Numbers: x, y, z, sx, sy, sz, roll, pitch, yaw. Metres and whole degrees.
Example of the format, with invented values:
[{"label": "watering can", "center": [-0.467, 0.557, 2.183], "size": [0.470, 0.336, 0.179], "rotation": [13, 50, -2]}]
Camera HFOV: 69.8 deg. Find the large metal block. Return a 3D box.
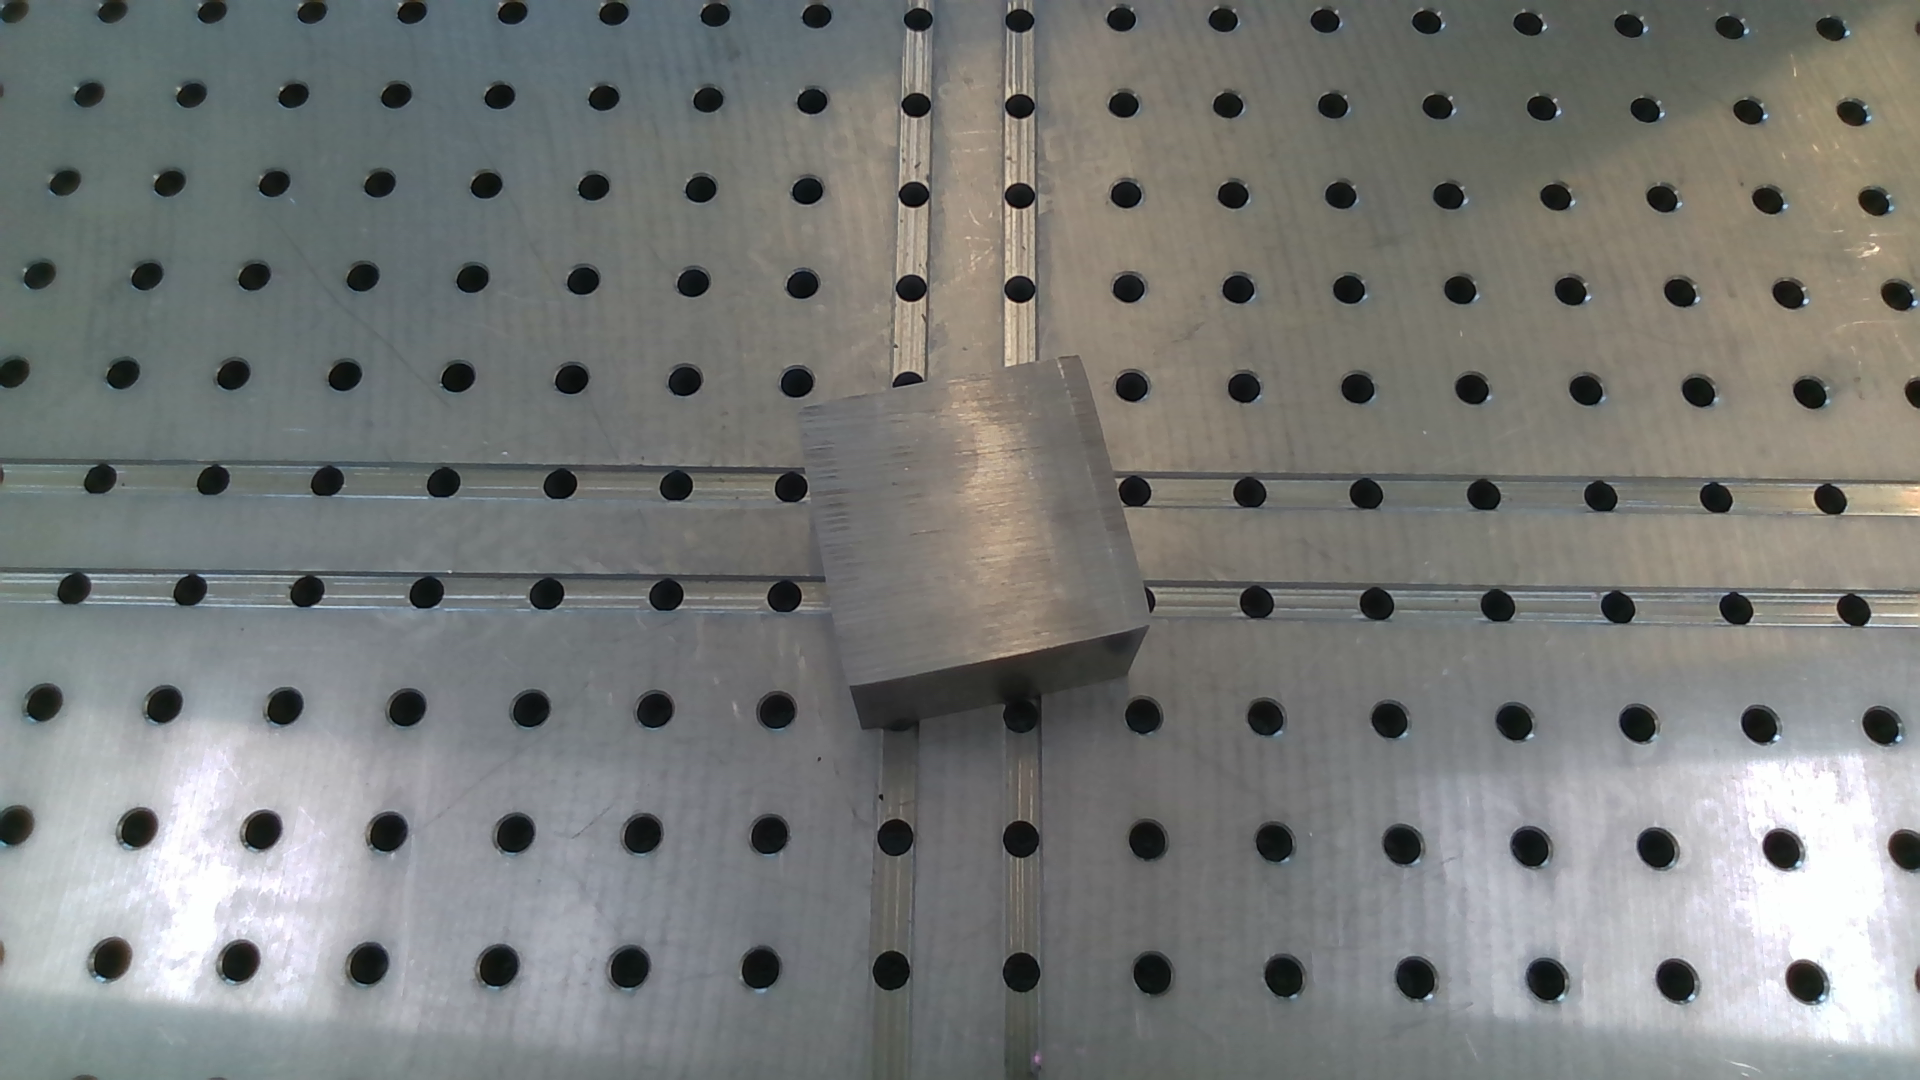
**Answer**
[{"label": "large metal block", "center": [0.002, 0.001, 0.383], "size": [0.080, 0.050, 0.080], "rotation": [-12, 71, -4]}]
